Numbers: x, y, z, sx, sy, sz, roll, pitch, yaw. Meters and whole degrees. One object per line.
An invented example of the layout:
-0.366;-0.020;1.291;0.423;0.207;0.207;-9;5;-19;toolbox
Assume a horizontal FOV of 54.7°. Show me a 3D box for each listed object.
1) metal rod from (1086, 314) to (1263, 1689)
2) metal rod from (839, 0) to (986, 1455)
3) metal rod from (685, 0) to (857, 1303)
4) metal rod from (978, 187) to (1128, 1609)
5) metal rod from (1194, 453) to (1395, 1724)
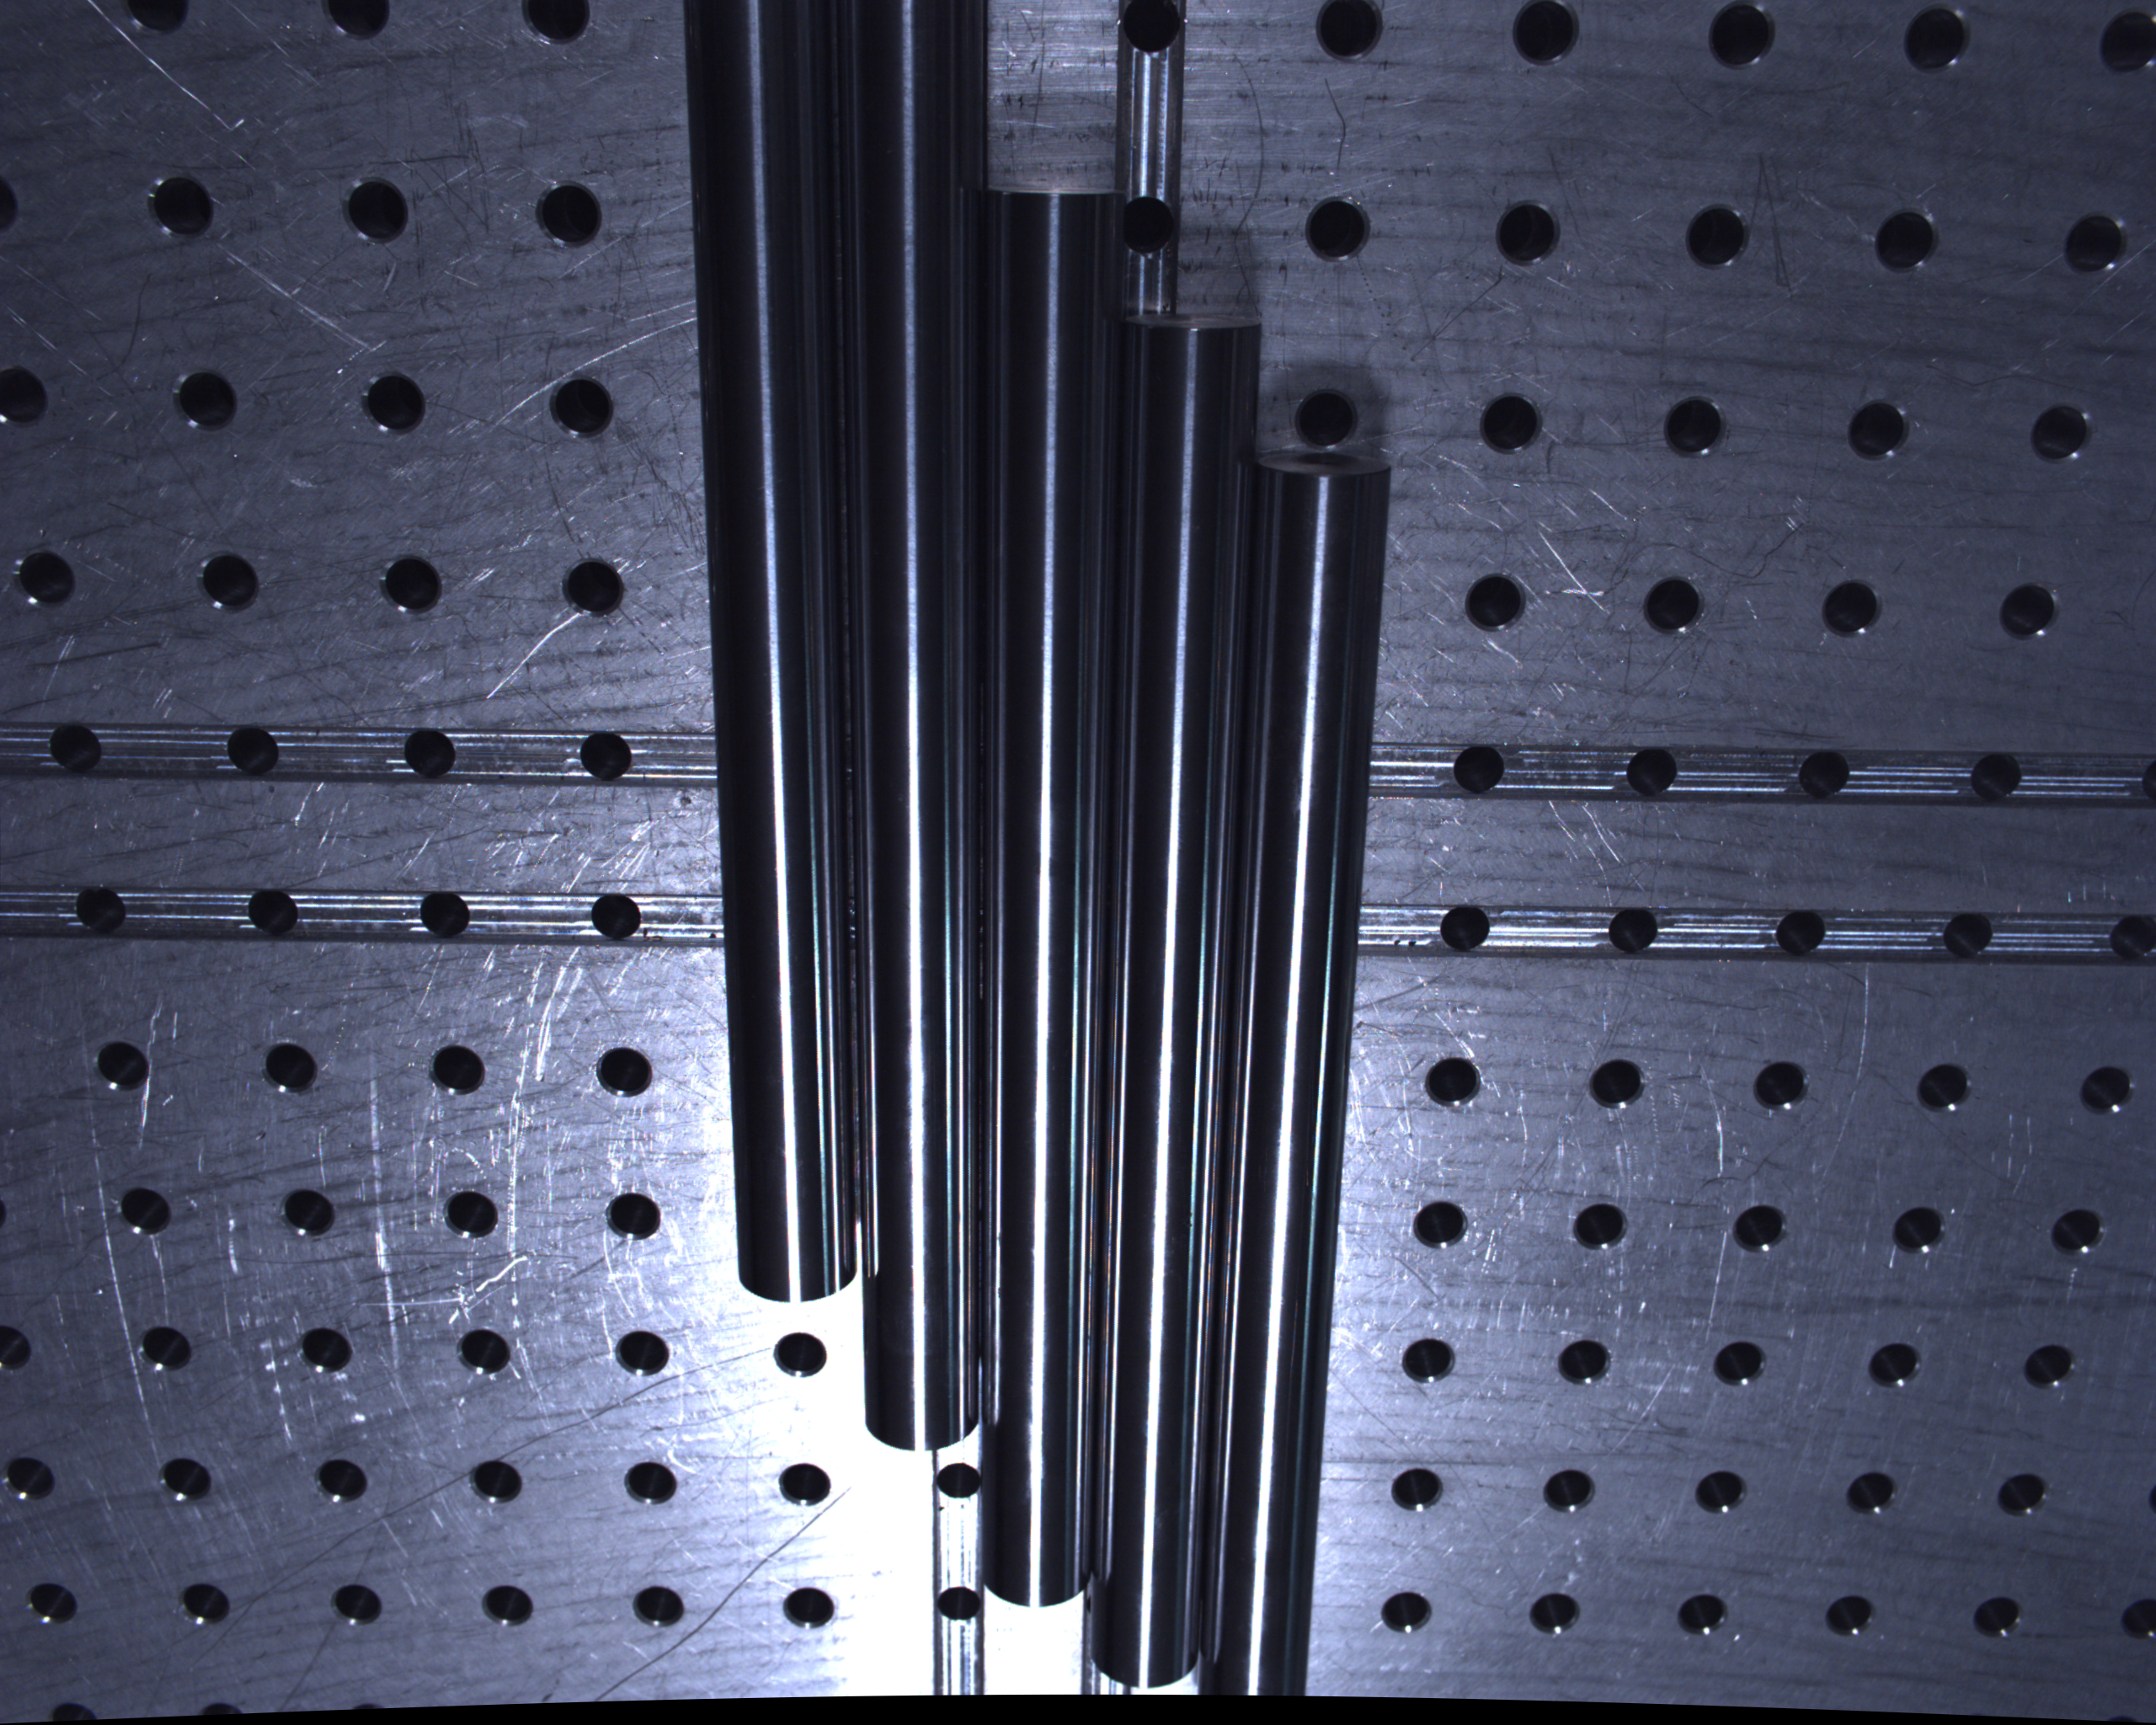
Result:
0.018;0.042;0.428;0.025;0.025;0.298;1;110;-1;metal rod
-0.031;-0.017;0.406;0.025;0.025;0.298;1;110;-1;metal rod
-0.057;-0.053;0.393;0.025;0.025;0.298;1;110;-1;metal rod
-0.007;0.021;0.420;0.025;0.025;0.298;1;110;-1;metal rod
0.043;0.066;0.437;0.025;0.025;0.298;1;110;-1;metal rod
